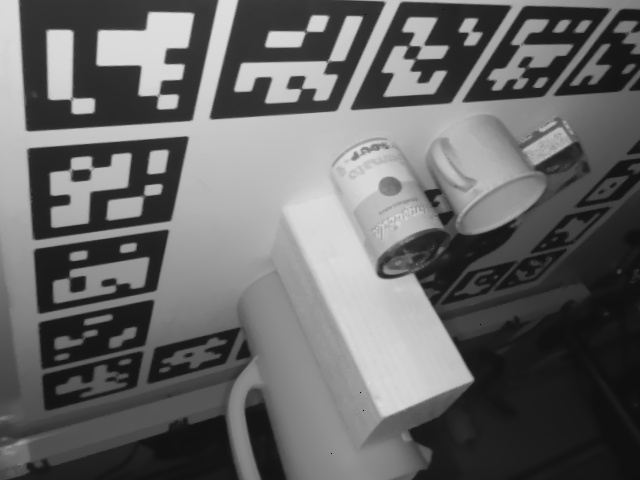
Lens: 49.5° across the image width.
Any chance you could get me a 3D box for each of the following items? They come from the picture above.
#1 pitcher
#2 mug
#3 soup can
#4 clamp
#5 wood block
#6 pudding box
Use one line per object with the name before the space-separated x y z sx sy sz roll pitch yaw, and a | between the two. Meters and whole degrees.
pitcher | 0.008 0.159 0.703 0.191 0.242 0.131 -13 150 -25
mug | 0.152 -0.064 0.625 0.092 0.081 0.118 -37 149 23
soup can | 0.068 -0.027 0.595 0.068 0.102 0.067 -19 147 -12
clamp | 0.204 0.017 0.848 0.123 0.036 0.163 19 128 -41
wood block | 0.051 0.070 0.629 0.091 0.206 0.090 -9 146 -19
pudding box | 0.261 -0.079 0.733 0.089 0.038 0.115 -42 147 19
